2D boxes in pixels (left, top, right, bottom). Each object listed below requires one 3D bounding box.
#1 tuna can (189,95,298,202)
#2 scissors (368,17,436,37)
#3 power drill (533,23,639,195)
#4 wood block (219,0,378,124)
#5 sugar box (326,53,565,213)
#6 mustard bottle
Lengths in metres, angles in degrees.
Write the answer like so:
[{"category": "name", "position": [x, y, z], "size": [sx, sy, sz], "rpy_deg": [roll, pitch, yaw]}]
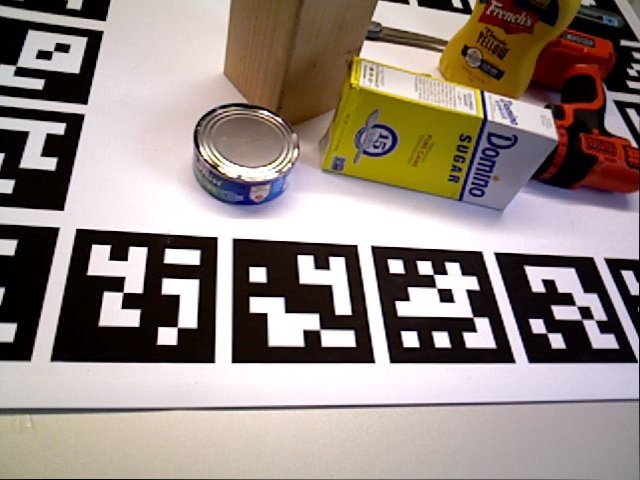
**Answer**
[{"category": "tuna can", "position": [-0.063, -0.074, 0.440], "size": [0.085, 0.034, 0.084], "rpy_deg": [7, 58, -12]}, {"category": "scissors", "position": [0.032, -0.236, 0.582], "size": [0.201, 0.016, 0.086], "rpy_deg": [5, 53, -12]}, {"category": "power drill", "position": [0.227, -0.141, 0.551], "size": [0.183, 0.058, 0.184], "rpy_deg": [14, 63, -6]}, {"category": "wood block", "position": [-0.016, -0.202, 0.443], "size": [0.089, 0.211, 0.089], "rpy_deg": [-24, 68, -28]}, {"category": "sugar box", "position": [0.101, -0.085, 0.461], "size": [0.175, 0.095, 0.044], "rpy_deg": [14, 52, -8]}, {"category": "mustard bottle", "position": [0.190, -0.219, 0.517], "size": [0.096, 0.196, 0.057], "rpy_deg": [45, 58, 13]}]
